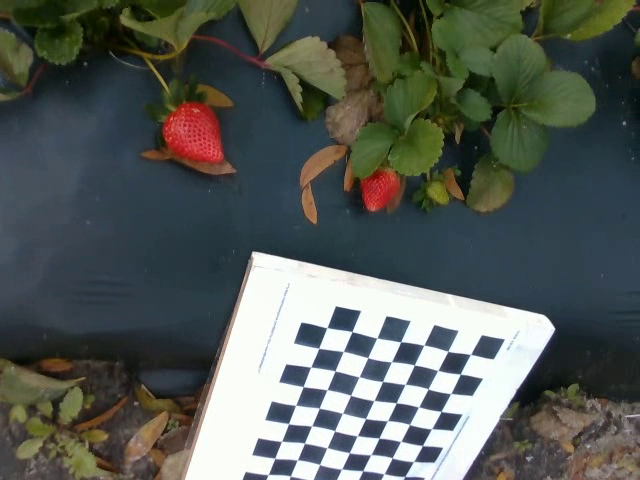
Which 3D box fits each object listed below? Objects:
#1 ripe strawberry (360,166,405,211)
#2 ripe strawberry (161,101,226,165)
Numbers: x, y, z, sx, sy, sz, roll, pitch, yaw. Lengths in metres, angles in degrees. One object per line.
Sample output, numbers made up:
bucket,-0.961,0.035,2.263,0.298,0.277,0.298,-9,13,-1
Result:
ripe strawberry,0.051,-0.038,0.546,0.040,0.042,0.037,22,-24,-22
ripe strawberry,-0.091,-0.075,0.500,0.065,0.047,0.042,42,30,27
